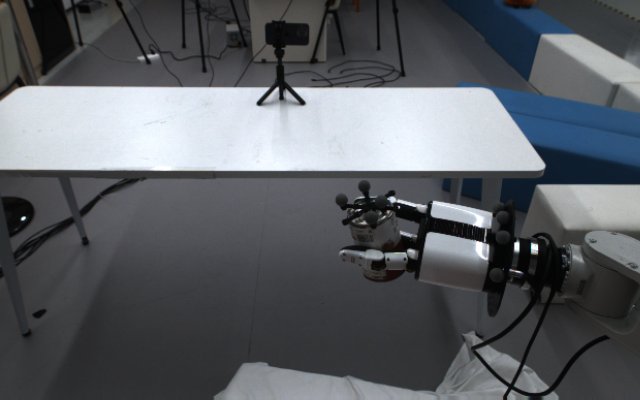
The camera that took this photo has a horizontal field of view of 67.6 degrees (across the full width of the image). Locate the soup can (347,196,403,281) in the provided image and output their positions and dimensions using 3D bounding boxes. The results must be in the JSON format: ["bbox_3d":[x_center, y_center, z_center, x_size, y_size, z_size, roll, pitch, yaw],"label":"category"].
[{"bbox_3d":[0.083,0.056,0.680,0.067,0.101,0.067,-13,31,8],"label":"soup can"}]
